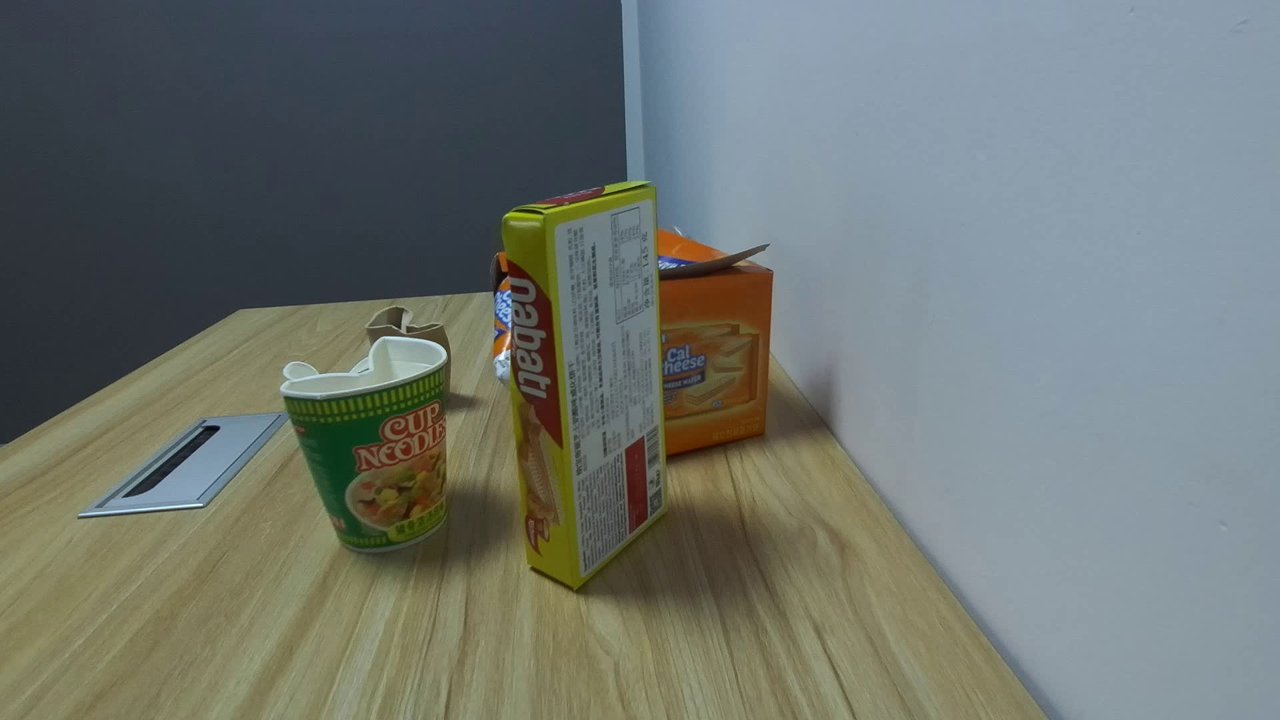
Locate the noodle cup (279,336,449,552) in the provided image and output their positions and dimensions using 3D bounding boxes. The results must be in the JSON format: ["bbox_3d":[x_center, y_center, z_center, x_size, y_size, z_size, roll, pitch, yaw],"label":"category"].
[{"bbox_3d":[-0.157,0.053,0.426,0.086,0.109,0.094,13,26,36],"label":"noodle cup"}]

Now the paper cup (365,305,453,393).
[{"bbox_3d":[-0.202,-0.003,0.639,0.058,0.083,0.066,-3,23,-3],"label":"paper cup"}]

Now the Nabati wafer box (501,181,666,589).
[{"bbox_3d":[-0.026,0.013,0.381,0.042,0.203,0.097,13,28,34],"label":"Nabati wafer box"}]

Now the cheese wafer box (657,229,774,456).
[{"bbox_3d":[-0.022,-0.025,0.578,0.192,0.145,0.218,-11,20,-21],"label":"cheese wafer box"}]
